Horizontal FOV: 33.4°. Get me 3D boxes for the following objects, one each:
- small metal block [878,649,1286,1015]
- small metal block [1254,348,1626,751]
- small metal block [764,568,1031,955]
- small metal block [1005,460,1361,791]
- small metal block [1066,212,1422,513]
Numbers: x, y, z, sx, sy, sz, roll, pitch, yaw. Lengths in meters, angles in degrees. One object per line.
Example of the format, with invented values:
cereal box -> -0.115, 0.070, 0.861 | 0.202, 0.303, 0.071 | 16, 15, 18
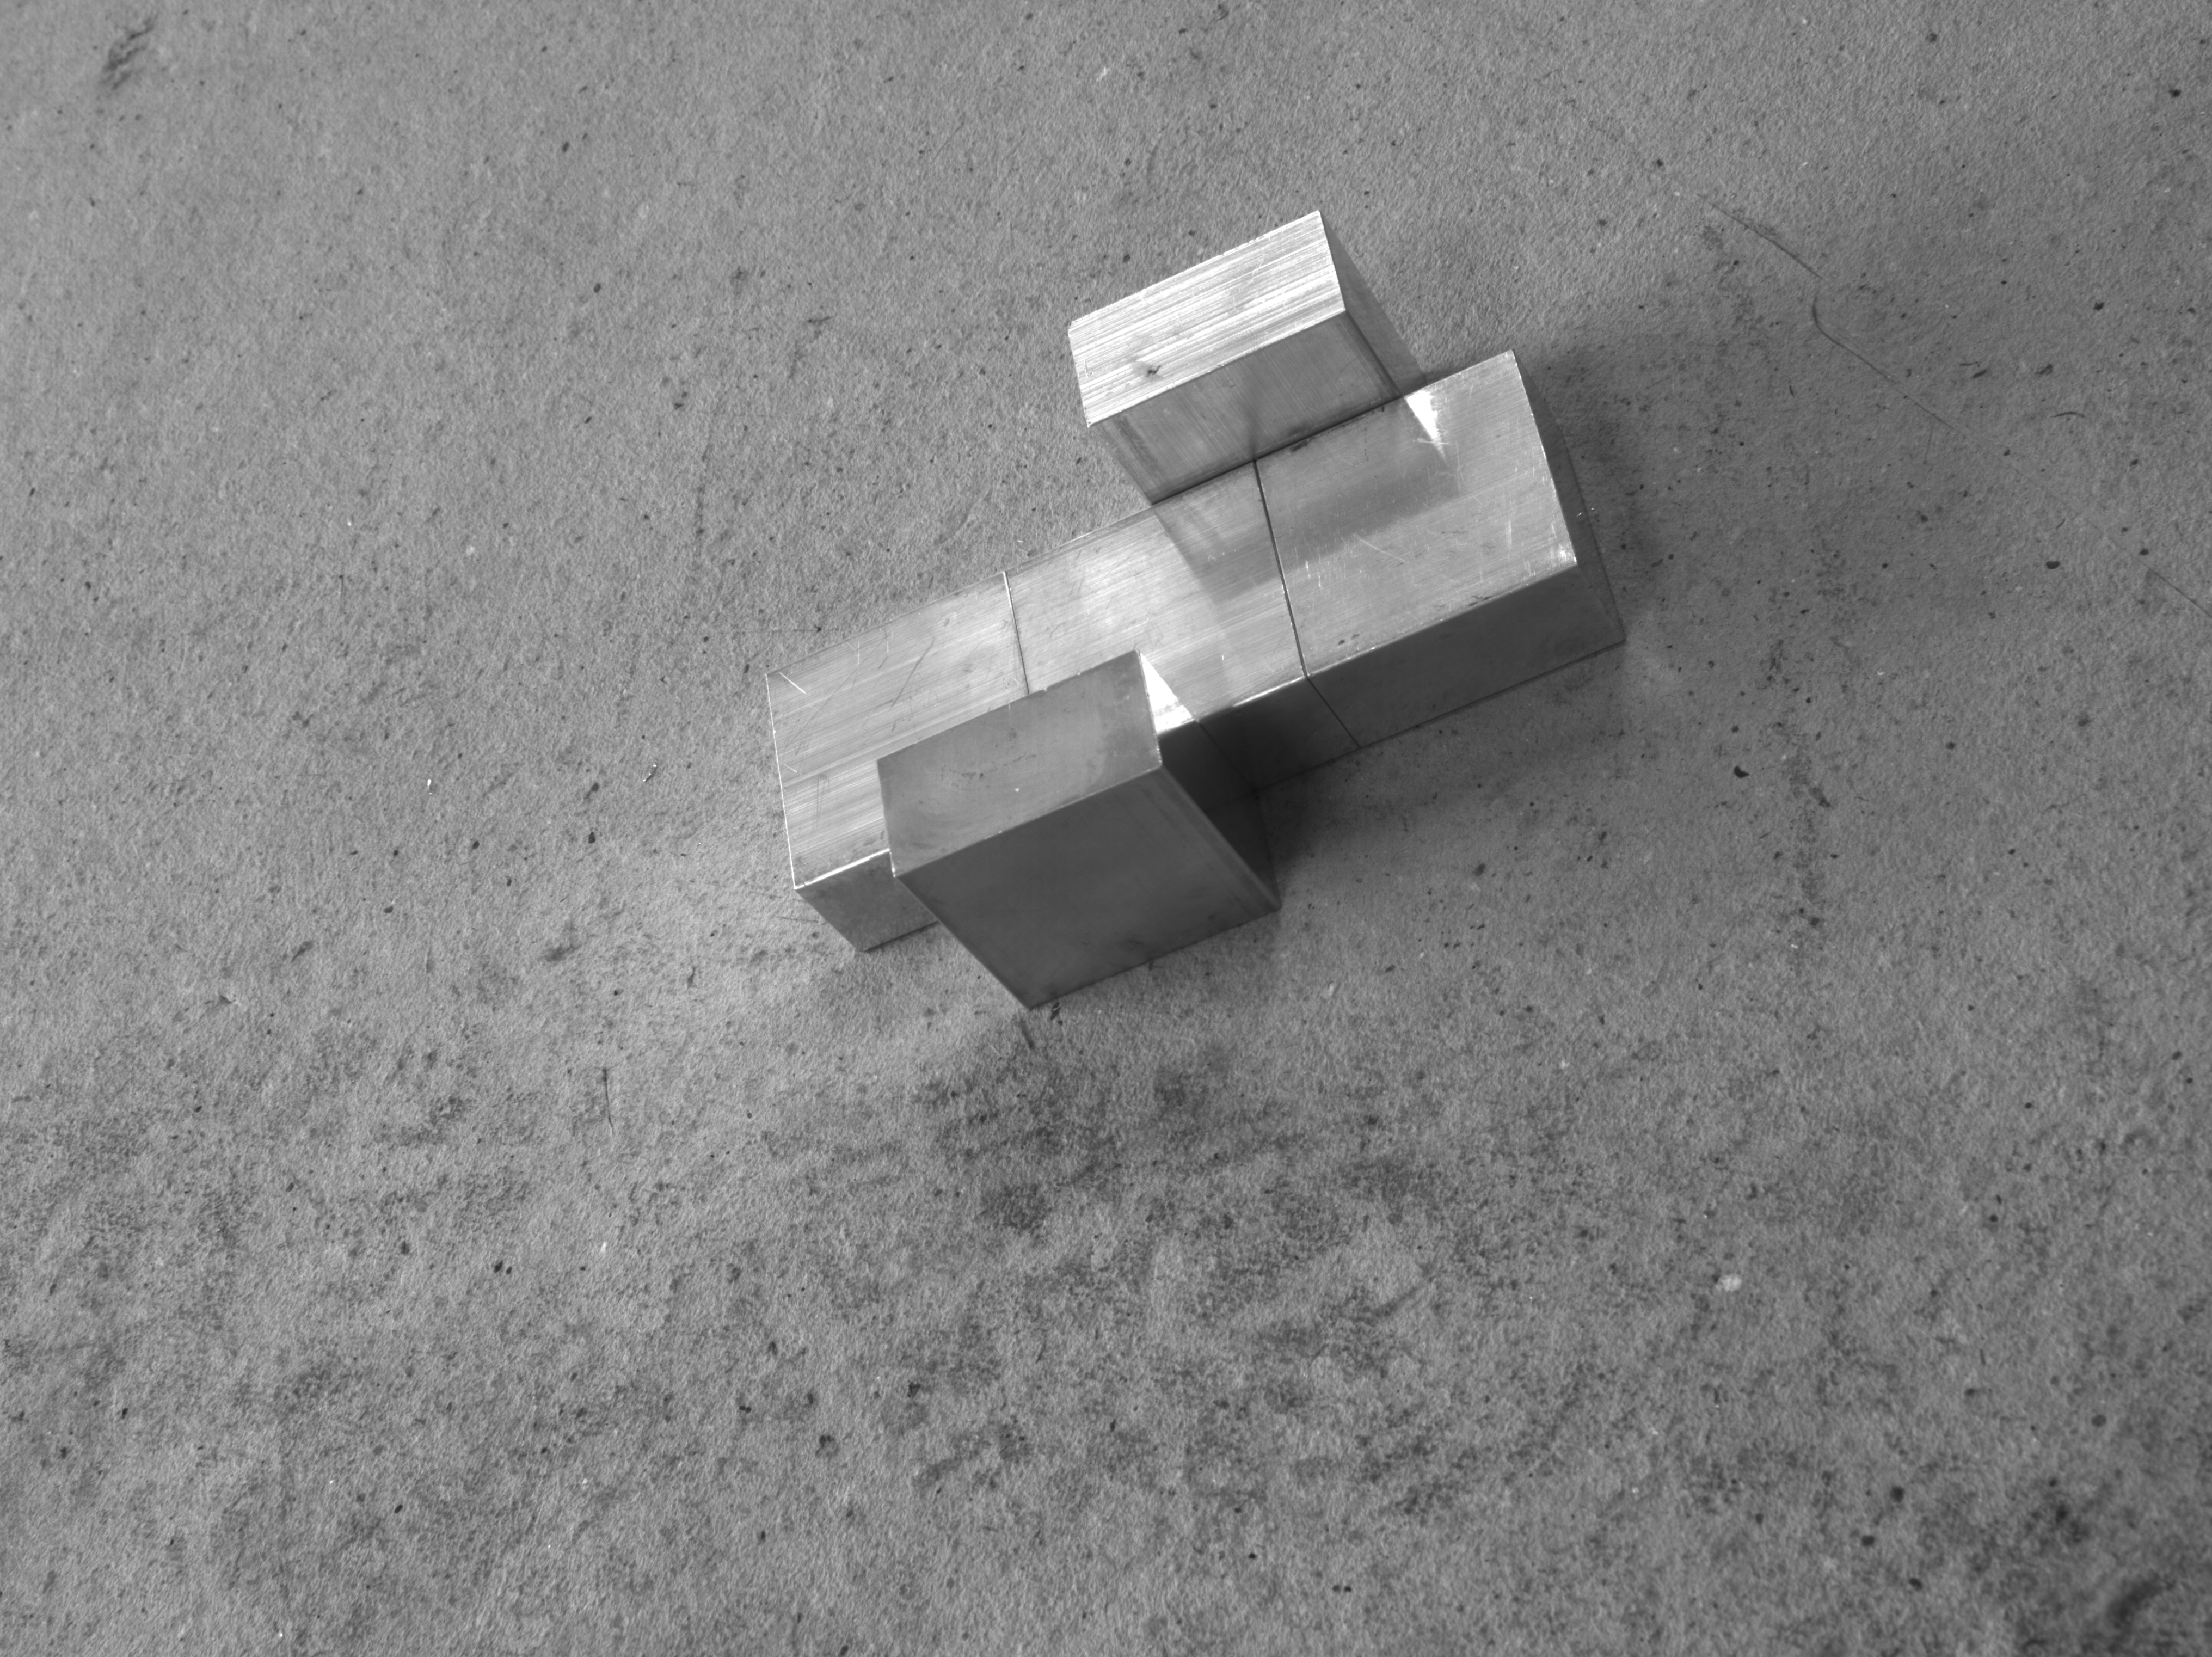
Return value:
small metal block -> -0.004, 0.001, 0.631 | 0.050, 0.050, 0.025 | -23, 52, 15
small metal block -> 0.058, -0.049, 0.644 | 0.050, 0.025, 0.050 | -22, 53, 15
small metal block -> -0.032, -0.012, 0.670 | 0.050, 0.025, 0.050 | -22, 53, 15
small metal block -> 0.013, -0.030, 0.657 | 0.050, 0.025, 0.050 | -22, 53, 15
small metal block -> 0.028, -0.077, 0.662 | 0.050, 0.050, 0.025 | -23, 53, 16
